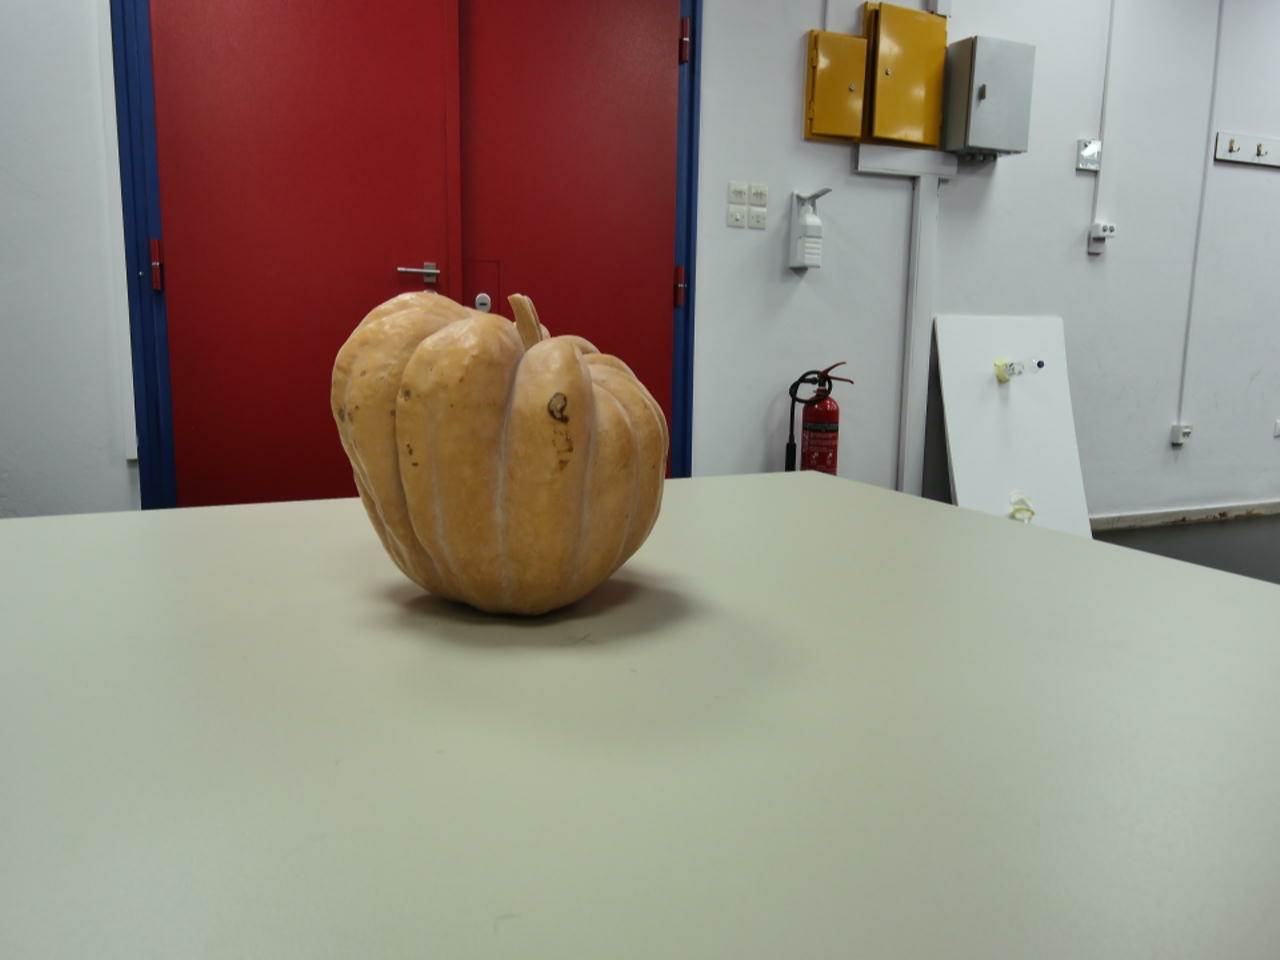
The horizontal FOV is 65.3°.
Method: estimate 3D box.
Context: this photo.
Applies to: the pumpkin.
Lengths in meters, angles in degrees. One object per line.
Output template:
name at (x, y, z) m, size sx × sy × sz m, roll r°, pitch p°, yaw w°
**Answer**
pumpkin at (-0.079, -0.017, 0.568) m, size 0.199 × 0.177 × 0.198 m, roll 0°, pitch 8°, yaw 0°
